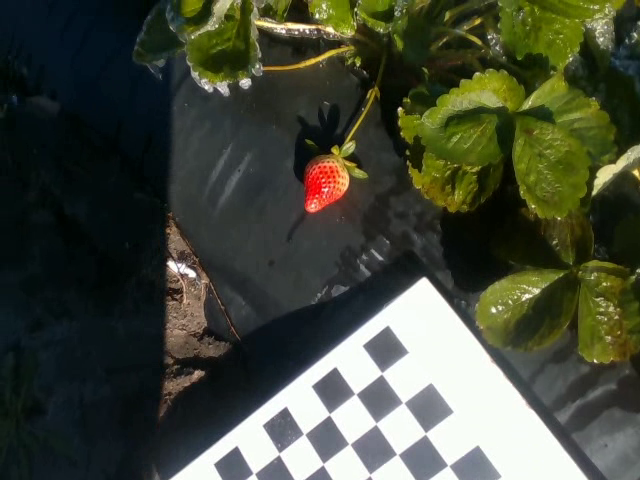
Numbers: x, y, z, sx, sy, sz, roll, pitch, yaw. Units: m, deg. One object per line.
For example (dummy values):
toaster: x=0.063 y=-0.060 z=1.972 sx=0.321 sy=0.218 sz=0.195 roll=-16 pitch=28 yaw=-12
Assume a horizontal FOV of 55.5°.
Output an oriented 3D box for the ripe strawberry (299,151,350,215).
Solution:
ripe strawberry: x=0.003 y=-0.039 z=0.445 sx=0.039 sy=0.053 sz=0.040 roll=30 pitch=-15 yaw=21
